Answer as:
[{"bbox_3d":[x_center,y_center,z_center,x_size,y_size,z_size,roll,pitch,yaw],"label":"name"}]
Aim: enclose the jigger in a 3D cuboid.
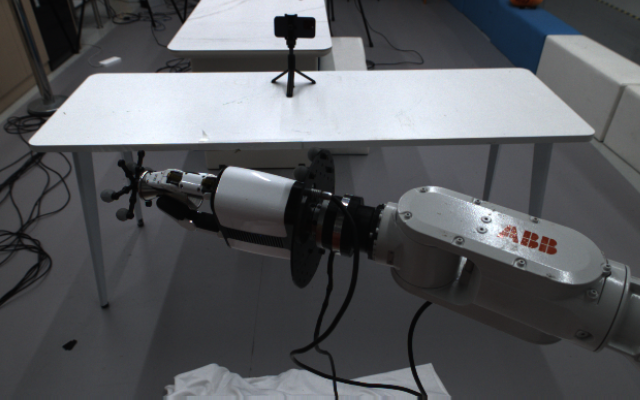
[{"bbox_3d":[-0.177,-0.017,0.598,0.071,0.043,0.043,7,35,14],"label":"jigger"}]
